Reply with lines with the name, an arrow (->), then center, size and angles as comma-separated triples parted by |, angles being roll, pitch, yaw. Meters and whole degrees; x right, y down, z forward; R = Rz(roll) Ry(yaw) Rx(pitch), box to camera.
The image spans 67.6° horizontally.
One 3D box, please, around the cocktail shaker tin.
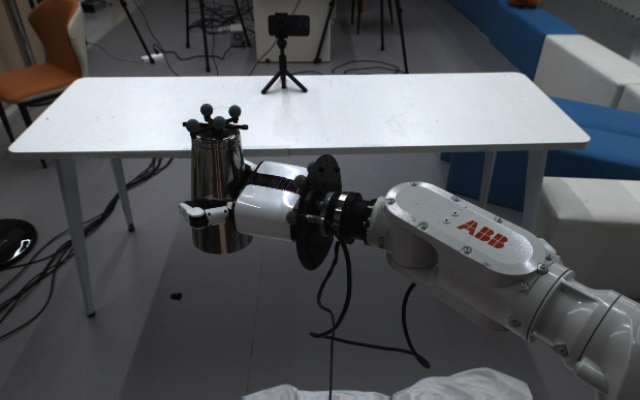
cocktail shaker tin -> -0.144, -0.018, 0.698 | 0.093, 0.170, 0.093 | 2, 28, -1
